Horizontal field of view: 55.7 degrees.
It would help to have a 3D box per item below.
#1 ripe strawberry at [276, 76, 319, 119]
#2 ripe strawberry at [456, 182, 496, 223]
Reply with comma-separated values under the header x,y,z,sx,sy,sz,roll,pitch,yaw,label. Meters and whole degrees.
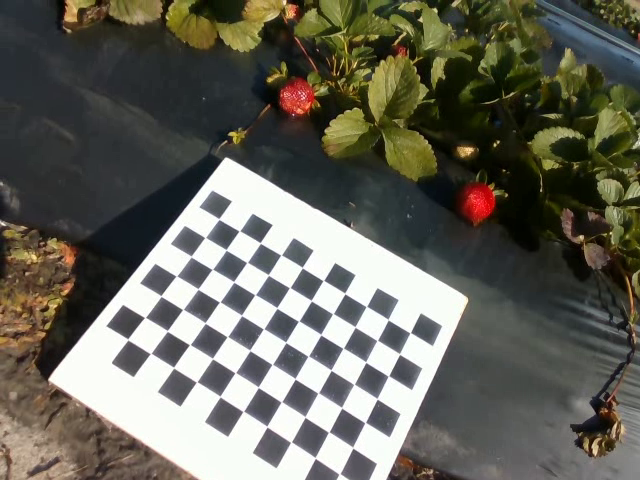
x,y,z,sx,sy,sz,roll,pitch,yaw,label
-0.027,-0.144,0.608,0.041,0.043,0.053,42,22,7,ripe strawberry
0.147,-0.037,0.578,0.043,0.043,0.050,-33,-17,22,ripe strawberry
